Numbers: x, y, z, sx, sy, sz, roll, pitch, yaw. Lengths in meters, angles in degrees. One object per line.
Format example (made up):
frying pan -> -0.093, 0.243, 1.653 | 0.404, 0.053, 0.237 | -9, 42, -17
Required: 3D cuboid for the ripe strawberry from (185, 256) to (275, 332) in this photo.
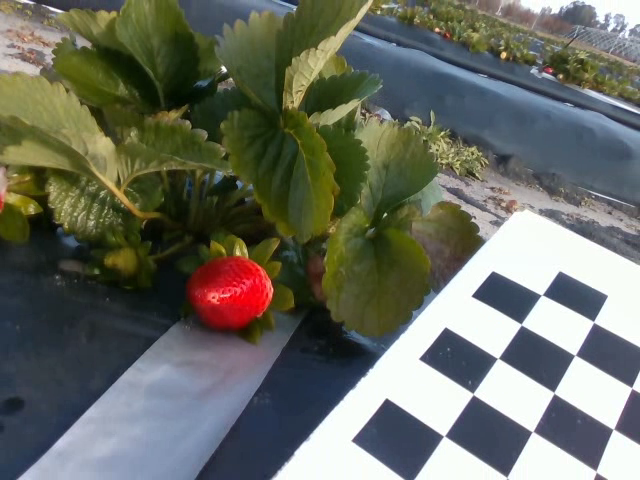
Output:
ripe strawberry -> -0.038, 0.020, 0.251 | 0.050, 0.036, 0.055 | 32, 26, 14
